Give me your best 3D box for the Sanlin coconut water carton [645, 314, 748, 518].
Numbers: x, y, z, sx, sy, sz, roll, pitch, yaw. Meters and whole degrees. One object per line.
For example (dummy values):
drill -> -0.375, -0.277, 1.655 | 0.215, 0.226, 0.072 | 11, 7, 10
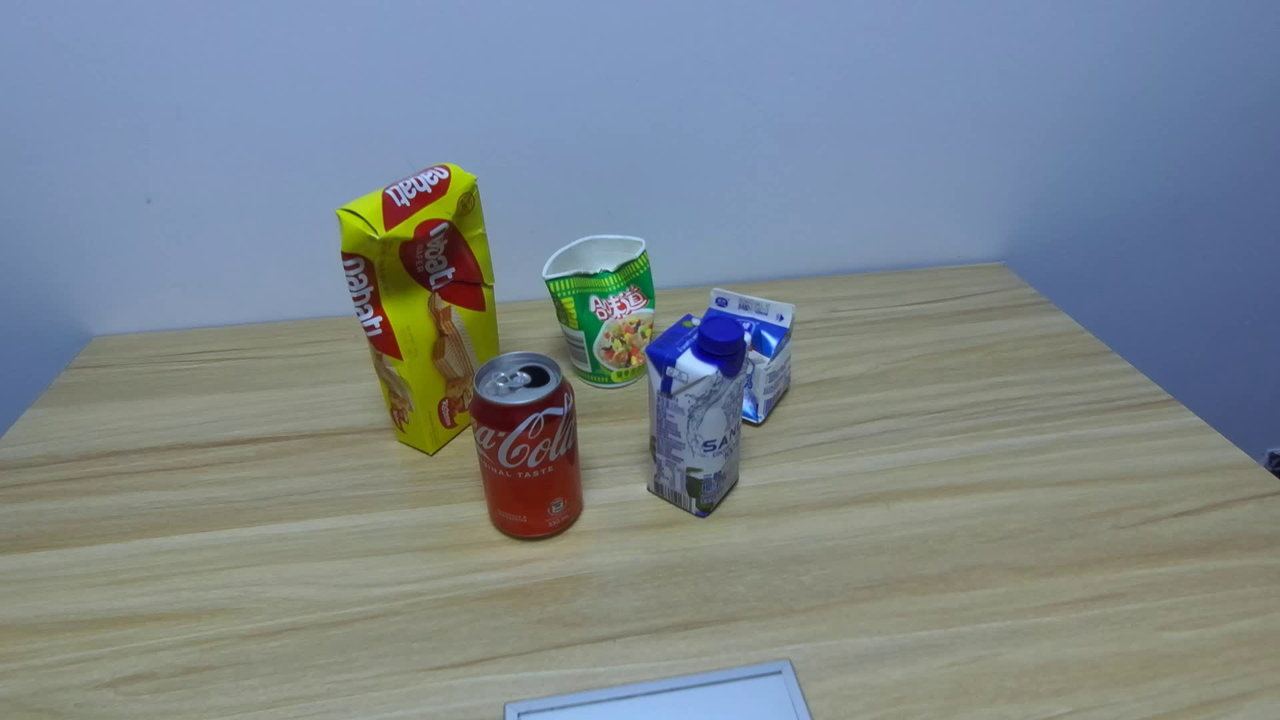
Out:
Sanlin coconut water carton -> 0.038, 0.033, 0.475 | 0.060, 0.144, 0.061 | 20, 41, 29

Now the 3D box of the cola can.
cola can -> -0.074, 0.057, 0.469 | 0.068, 0.120, 0.068 | 0, 34, 0

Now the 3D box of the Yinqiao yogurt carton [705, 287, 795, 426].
Yinqiao yogurt carton -> 0.084, -0.009, 0.580 | 0.077, 0.094, 0.071 | 18, 33, 23

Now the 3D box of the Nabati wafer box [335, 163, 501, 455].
Nabati wafer box -> -0.156, -0.033, 0.526 | 0.042, 0.204, 0.107 | 20, 39, 26

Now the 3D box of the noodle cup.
noodle cup -> -0.028, -0.042, 0.616 | 0.083, 0.122, 0.075 | -9, 28, 5
